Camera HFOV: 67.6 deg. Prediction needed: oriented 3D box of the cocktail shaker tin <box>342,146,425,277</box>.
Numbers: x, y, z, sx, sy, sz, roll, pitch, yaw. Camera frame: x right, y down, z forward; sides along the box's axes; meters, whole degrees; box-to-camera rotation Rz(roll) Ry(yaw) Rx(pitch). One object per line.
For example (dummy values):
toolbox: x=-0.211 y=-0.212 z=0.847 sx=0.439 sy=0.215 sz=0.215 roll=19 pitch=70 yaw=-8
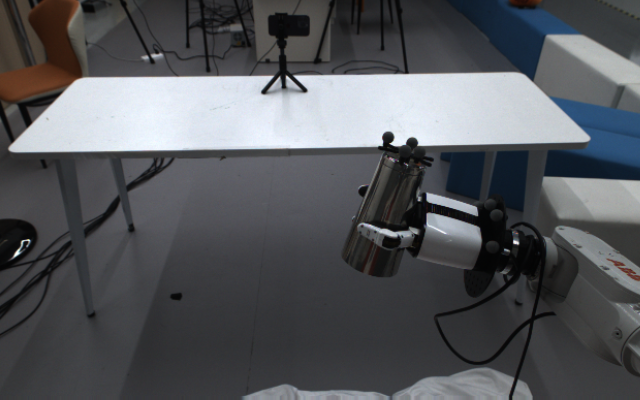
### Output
cocktail shaker tin: x=0.100 y=0.017 z=0.723 sx=0.093 sy=0.170 sz=0.093 roll=15 pitch=20 yaw=-5
